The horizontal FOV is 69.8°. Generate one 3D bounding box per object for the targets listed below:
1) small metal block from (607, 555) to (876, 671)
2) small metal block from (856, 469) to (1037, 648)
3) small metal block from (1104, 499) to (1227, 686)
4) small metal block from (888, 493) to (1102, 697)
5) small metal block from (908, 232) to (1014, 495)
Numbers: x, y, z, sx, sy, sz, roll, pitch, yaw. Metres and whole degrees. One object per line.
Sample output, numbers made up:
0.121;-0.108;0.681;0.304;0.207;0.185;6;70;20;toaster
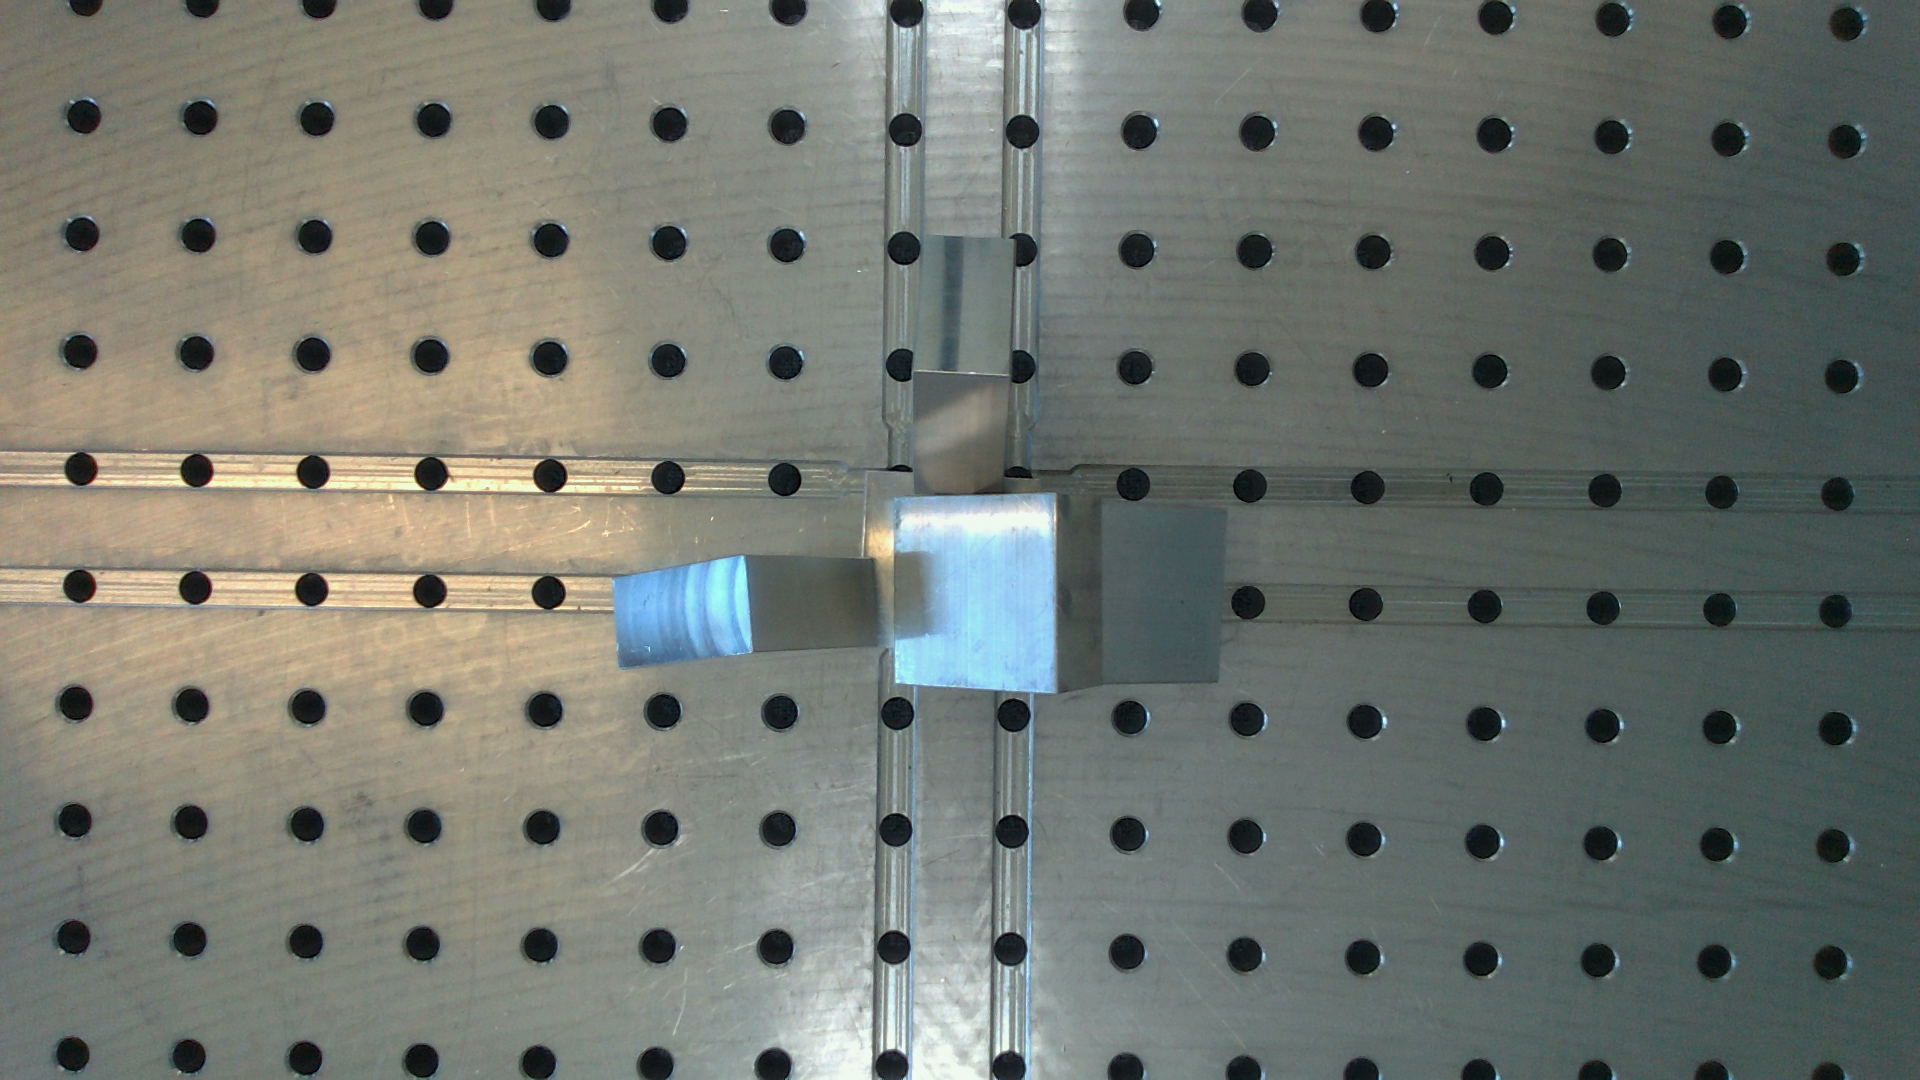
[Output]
-0.059;0.020;0.375;0.050;0.050;0.025;-9;83;35;small metal block
-0.004;0.006;0.398;0.050;0.025;0.050;2;90;0;small metal block
0.047;0.015;0.387;0.050;0.025;0.050;3;90;-31;small metal block
0.009;0.014;0.361;0.050;0.025;0.050;0;90;33;small metal block
0.000;-0.047;0.375;0.025;0.050;0.050;3;54;1;small metal block
